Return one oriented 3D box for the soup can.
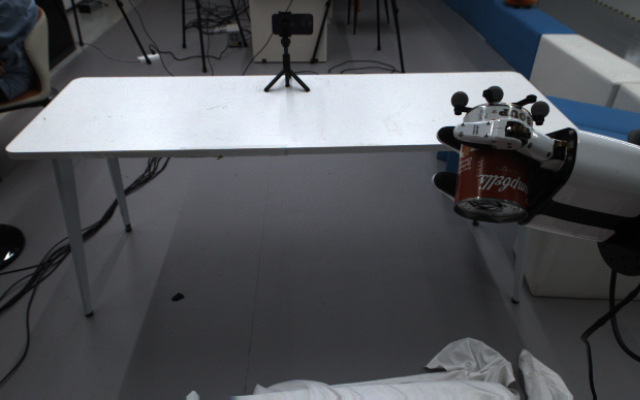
[{"bbox_3d":[0.173,-0.035,0.476,0.067,0.067,0.101,8,72,9],"label":"soup can"}]
